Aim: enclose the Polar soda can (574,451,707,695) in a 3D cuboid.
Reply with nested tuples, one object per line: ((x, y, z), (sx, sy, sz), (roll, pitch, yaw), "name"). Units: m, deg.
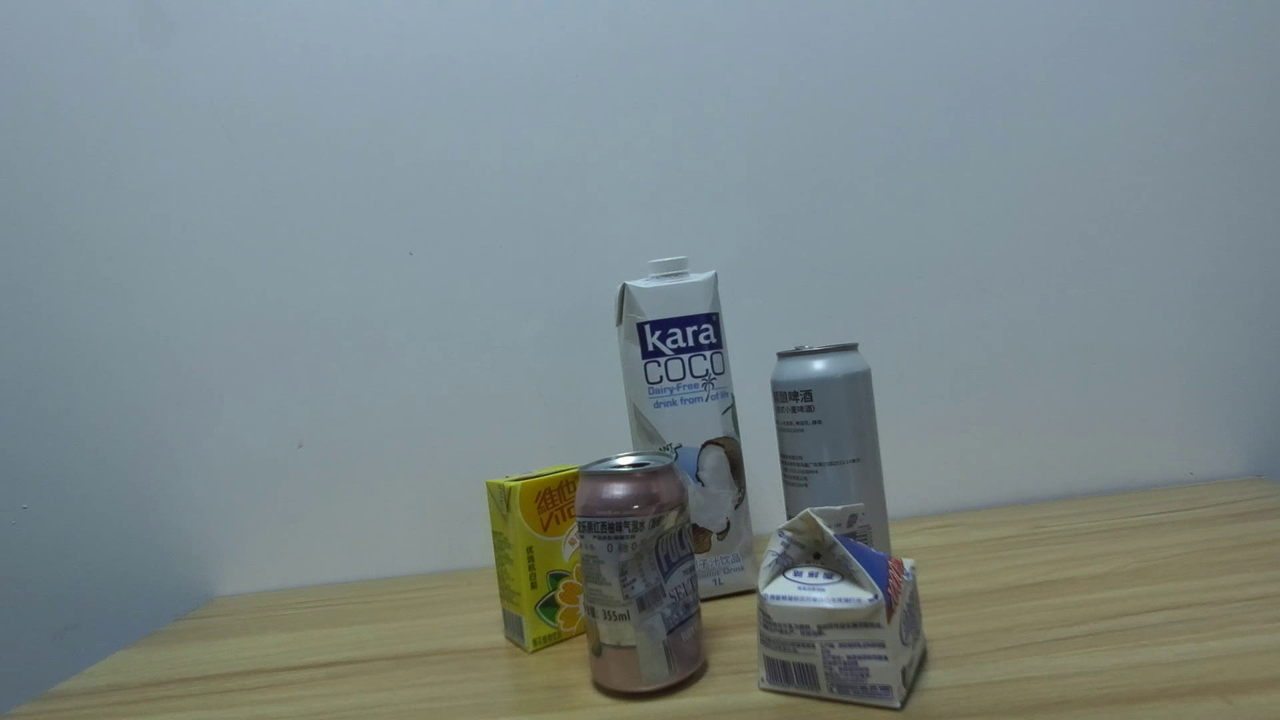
((0.001, 0.118, 0.396), (0.074, 0.121, 0.067), (-7, -2, -24), "Polar soda can")

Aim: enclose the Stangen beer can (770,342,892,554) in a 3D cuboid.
((0.127, 0.076, 0.475), (0.067, 0.171, 0.067), (-6, 0, 0), "Stangen beer can")

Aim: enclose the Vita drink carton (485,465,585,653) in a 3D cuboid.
((-0.059, 0.129, 0.476), (0.067, 0.109, 0.043), (-8, 2, -33), "Vita drink carton")

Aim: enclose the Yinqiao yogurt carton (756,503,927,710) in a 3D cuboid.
((0.101, 0.116, 0.367), (0.077, 0.093, 0.083), (-7, 0, 31), "Yinqiao yogurt carton")
